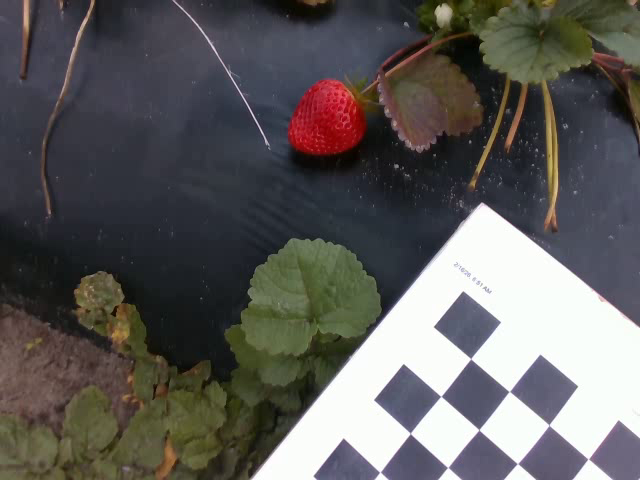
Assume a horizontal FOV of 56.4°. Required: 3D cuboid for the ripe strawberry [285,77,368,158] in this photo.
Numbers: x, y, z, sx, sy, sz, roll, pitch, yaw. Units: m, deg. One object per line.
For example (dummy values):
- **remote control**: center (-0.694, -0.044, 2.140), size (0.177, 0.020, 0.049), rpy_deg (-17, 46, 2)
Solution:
- **ripe strawberry**: center (0.000, -0.043, 0.210), size (0.033, 0.028, 0.022), rpy_deg (-34, -14, -4)
